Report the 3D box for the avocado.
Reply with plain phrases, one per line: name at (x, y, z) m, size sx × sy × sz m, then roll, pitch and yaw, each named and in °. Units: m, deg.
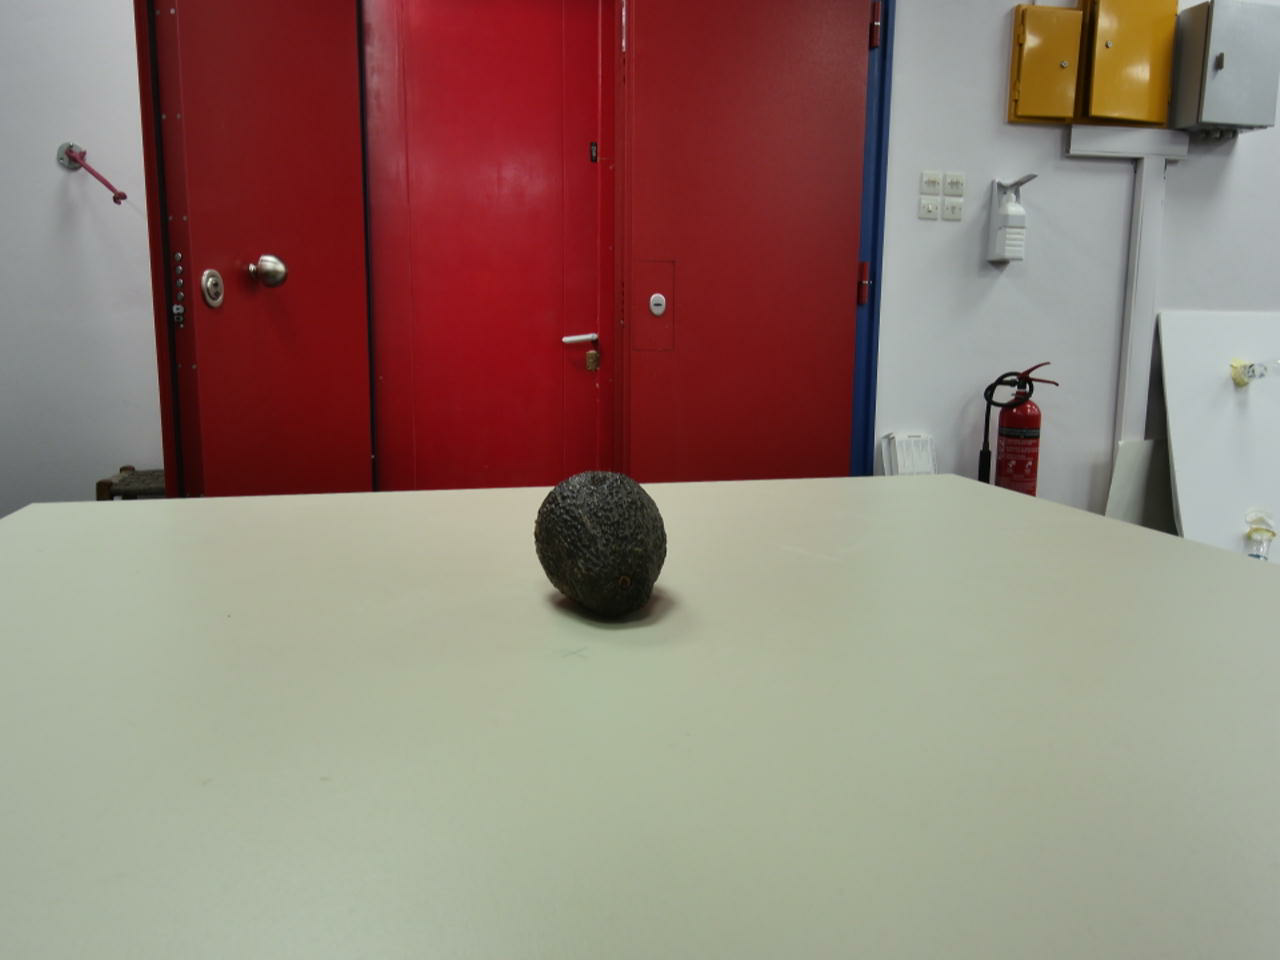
avocado at (-0.022, 0.031, 0.519) m, size 0.070 × 0.069 × 0.090 m, roll 3°, pitch 7°, yaw 12°
